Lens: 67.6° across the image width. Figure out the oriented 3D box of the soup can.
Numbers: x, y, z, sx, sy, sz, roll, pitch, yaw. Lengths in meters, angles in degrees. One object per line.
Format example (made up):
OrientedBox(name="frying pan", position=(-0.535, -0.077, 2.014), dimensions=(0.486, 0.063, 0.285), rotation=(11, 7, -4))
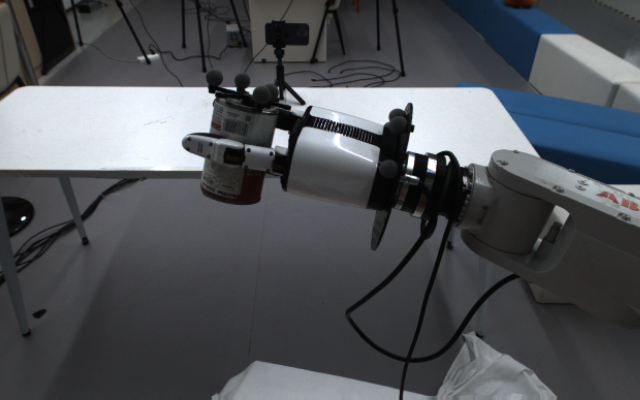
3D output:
OrientedBox(name="soup can", position=(-0.084, -0.053, 0.515), dimensions=(0.067, 0.101, 0.067), rotation=(13, 18, -4))
